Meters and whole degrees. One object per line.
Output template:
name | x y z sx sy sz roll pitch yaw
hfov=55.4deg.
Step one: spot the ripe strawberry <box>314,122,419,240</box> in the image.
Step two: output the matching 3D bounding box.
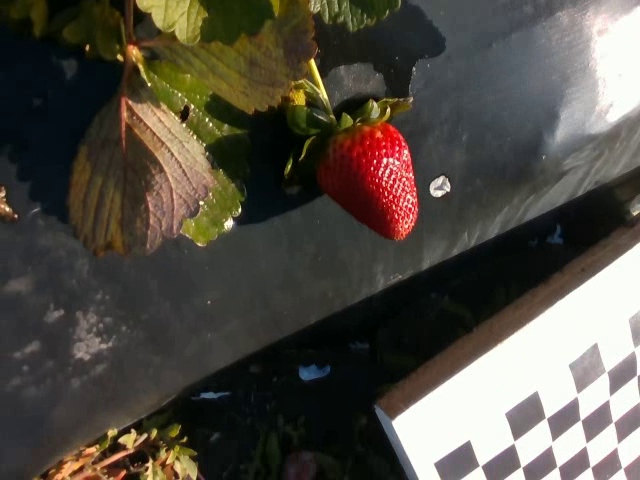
ripe strawberry | 0.021 -0.022 0.233 0.045 0.055 0.041 -26 -4 -21
